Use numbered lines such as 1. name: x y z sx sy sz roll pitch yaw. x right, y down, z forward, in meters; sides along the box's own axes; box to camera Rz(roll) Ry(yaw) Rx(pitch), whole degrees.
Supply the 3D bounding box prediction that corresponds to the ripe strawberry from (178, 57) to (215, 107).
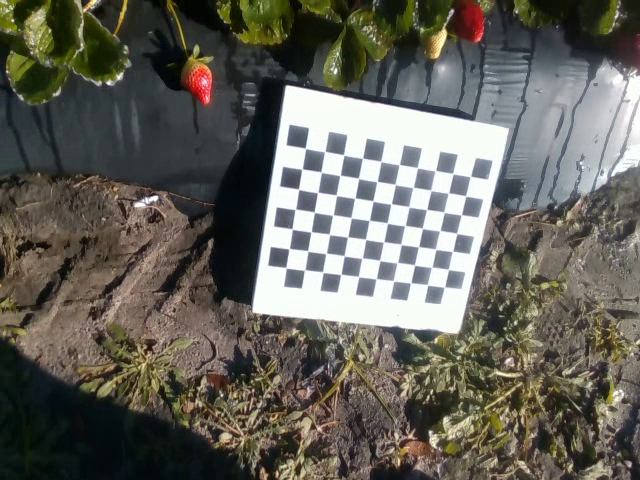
1. ripe strawberry: -0.130 -0.168 0.634 0.039 0.053 0.040 -14 -1 -8
